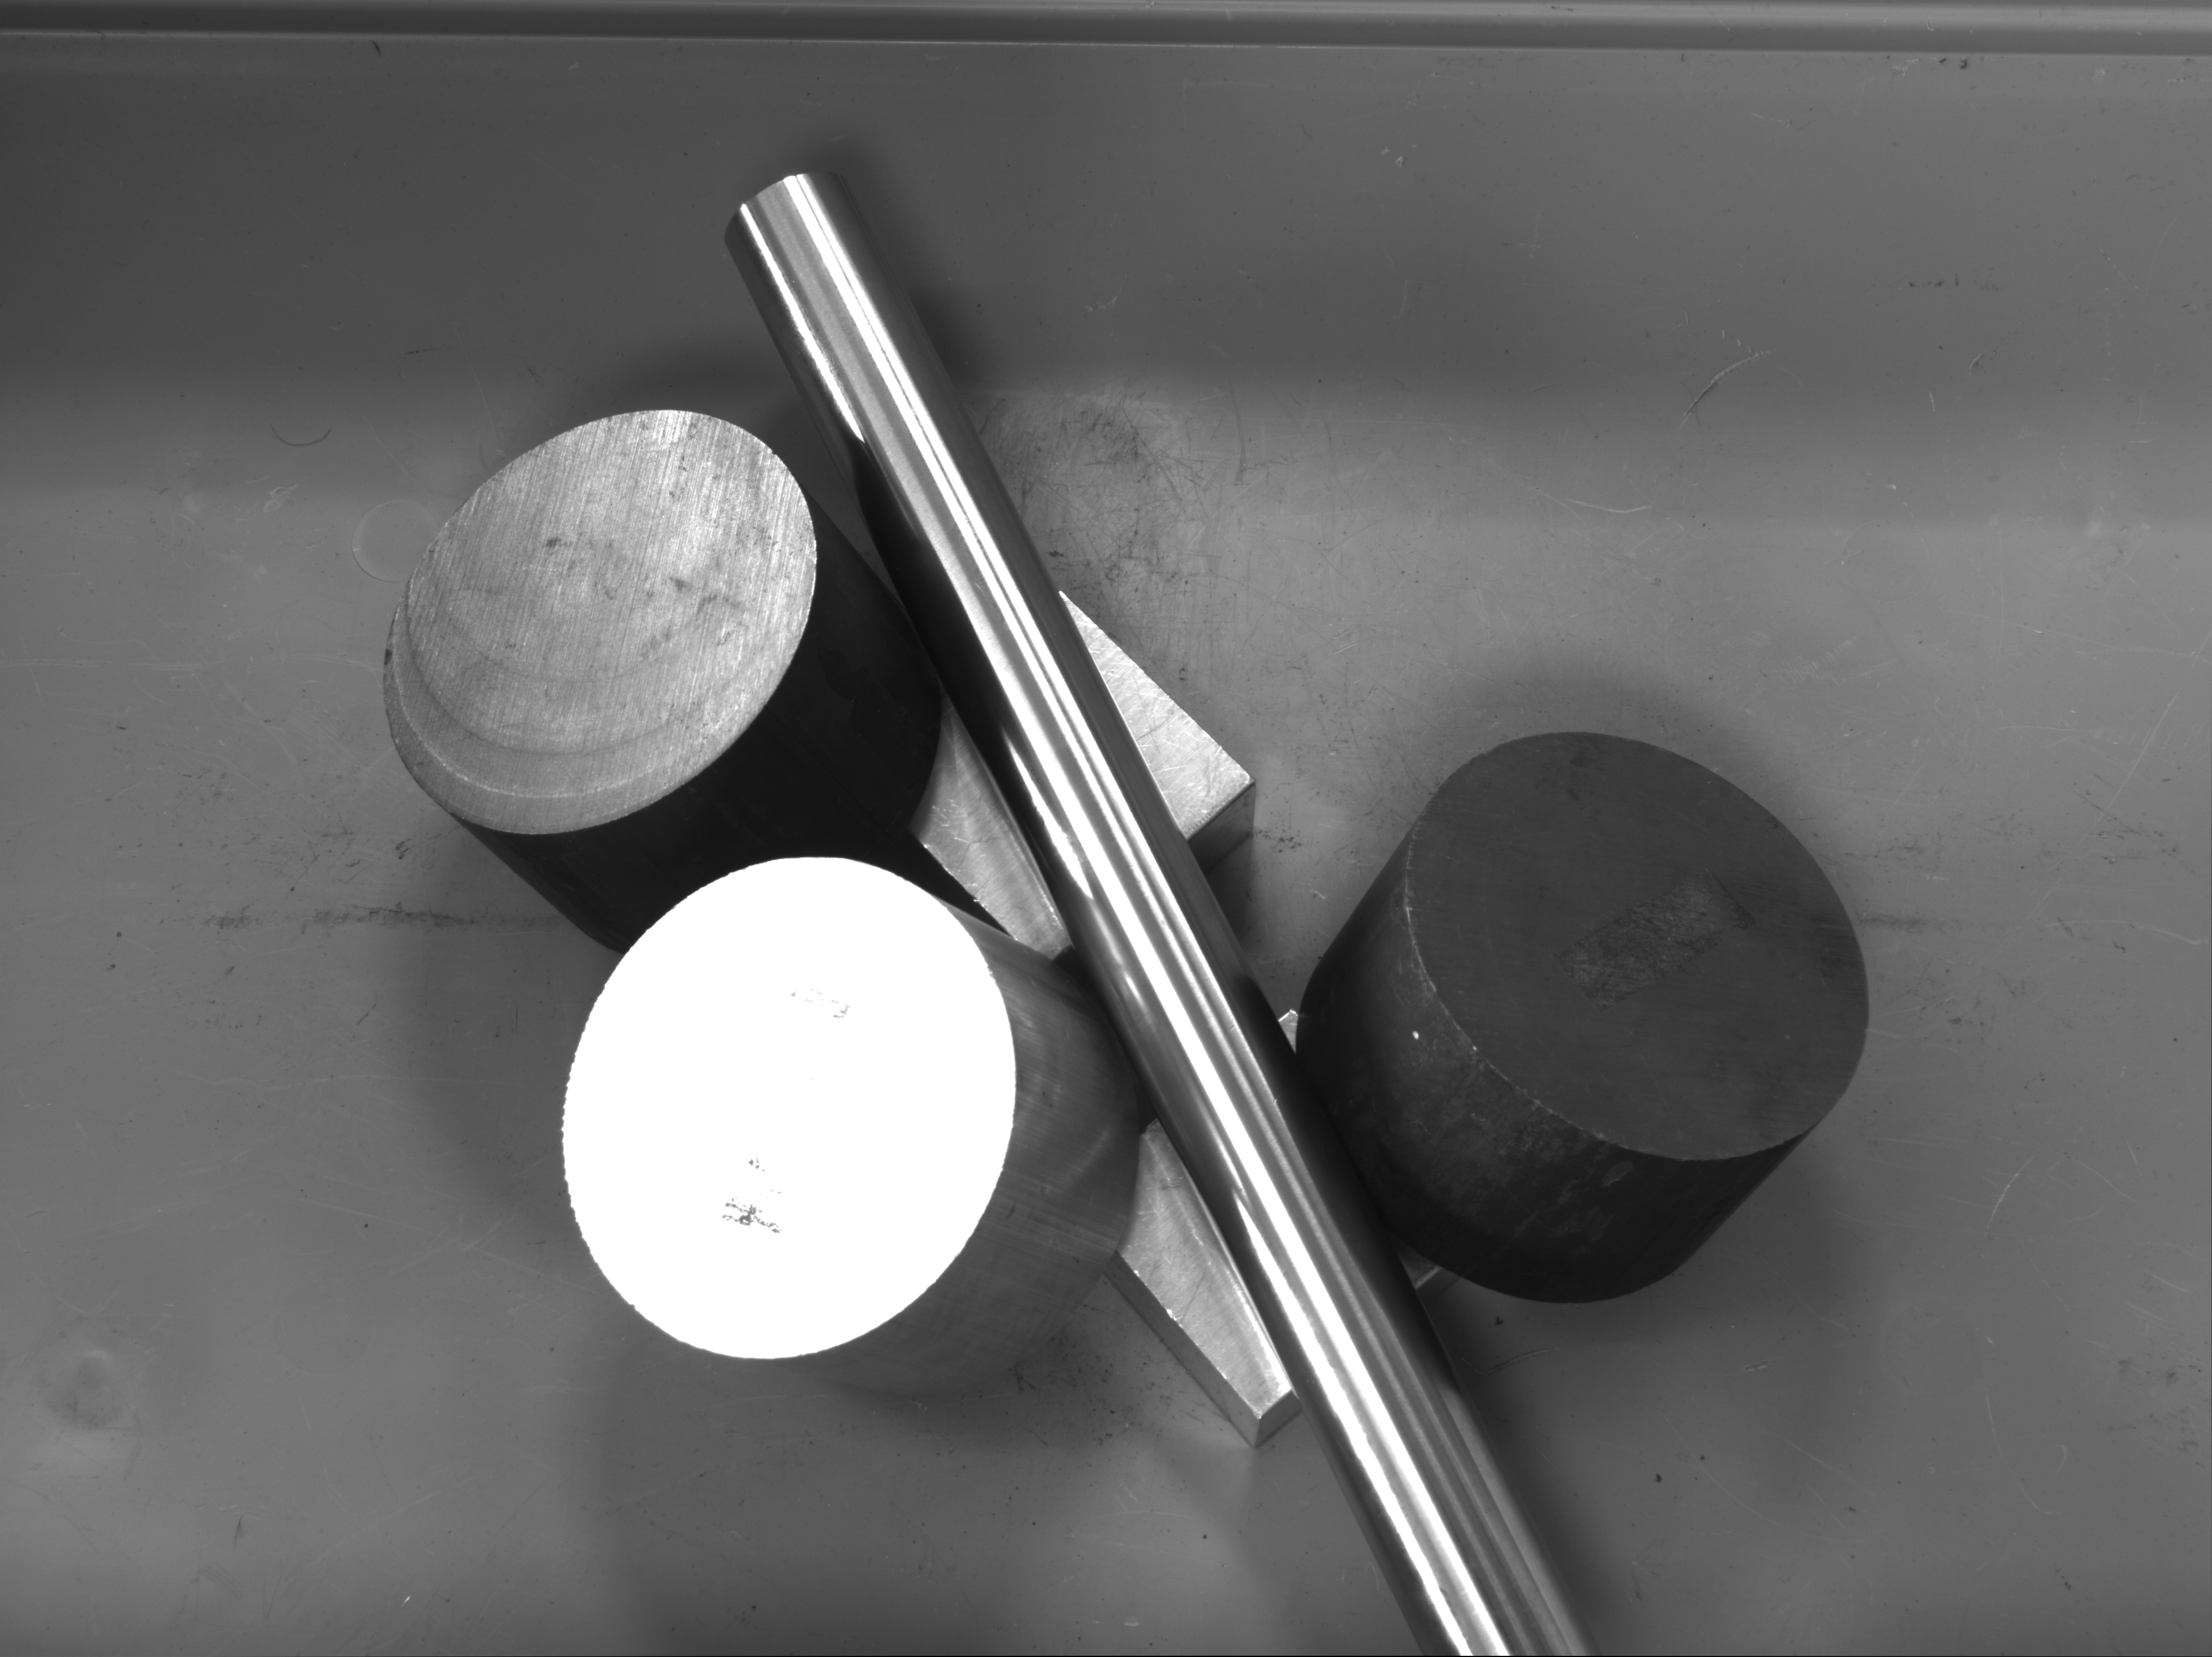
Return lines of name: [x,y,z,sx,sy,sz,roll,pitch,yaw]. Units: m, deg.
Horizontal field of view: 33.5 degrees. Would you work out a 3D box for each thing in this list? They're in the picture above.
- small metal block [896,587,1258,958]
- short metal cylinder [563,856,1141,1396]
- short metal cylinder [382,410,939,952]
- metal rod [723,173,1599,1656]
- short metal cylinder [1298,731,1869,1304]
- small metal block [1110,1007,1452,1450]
small metal block: [-0.009,-0.005,0.646,0.050,0.025,0.050,-41,75,-14]
short metal cylinder: [-0.041,0.049,0.598,0.080,0.050,0.080,-7,73,22]
short metal cylinder: [-0.075,-0.024,0.625,0.080,0.050,0.080,-10,59,18]
metal rod: [0.007,0.018,0.610,0.025,0.025,0.300,-24,71,-8]
short metal cylinder: [0.078,0.031,0.606,0.080,0.050,0.080,11,53,-14]
small metal block: [0.028,0.067,0.619,0.050,0.025,0.050,-38,74,-13]
